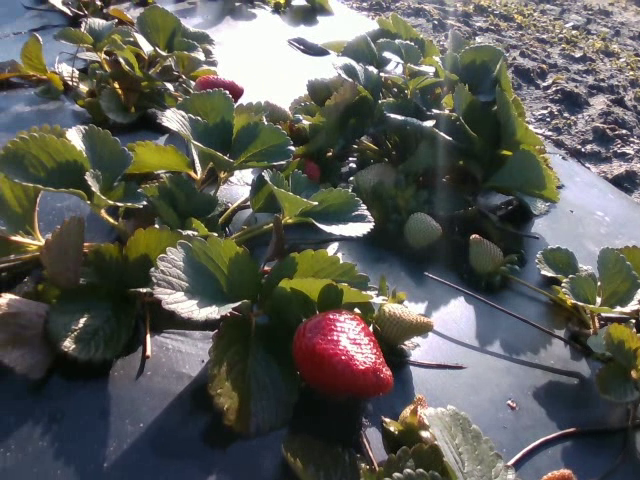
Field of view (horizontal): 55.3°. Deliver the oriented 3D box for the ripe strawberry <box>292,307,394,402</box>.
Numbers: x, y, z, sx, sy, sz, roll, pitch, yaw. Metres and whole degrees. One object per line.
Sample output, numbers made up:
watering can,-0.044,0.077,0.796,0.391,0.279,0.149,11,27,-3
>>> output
ripe strawberry,0.014,0.059,0.301,0.055,0.057,0.072,44,-11,-34
